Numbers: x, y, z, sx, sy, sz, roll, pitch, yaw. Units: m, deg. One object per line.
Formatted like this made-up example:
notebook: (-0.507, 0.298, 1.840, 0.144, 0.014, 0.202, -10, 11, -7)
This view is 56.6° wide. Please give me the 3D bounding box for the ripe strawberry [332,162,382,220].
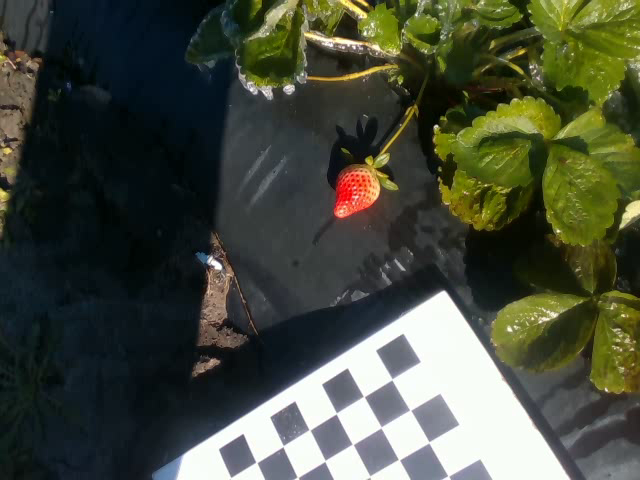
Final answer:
ripe strawberry: (0.026, -0.034, 0.447, 0.039, 0.053, 0.041, 36, -15, 23)
